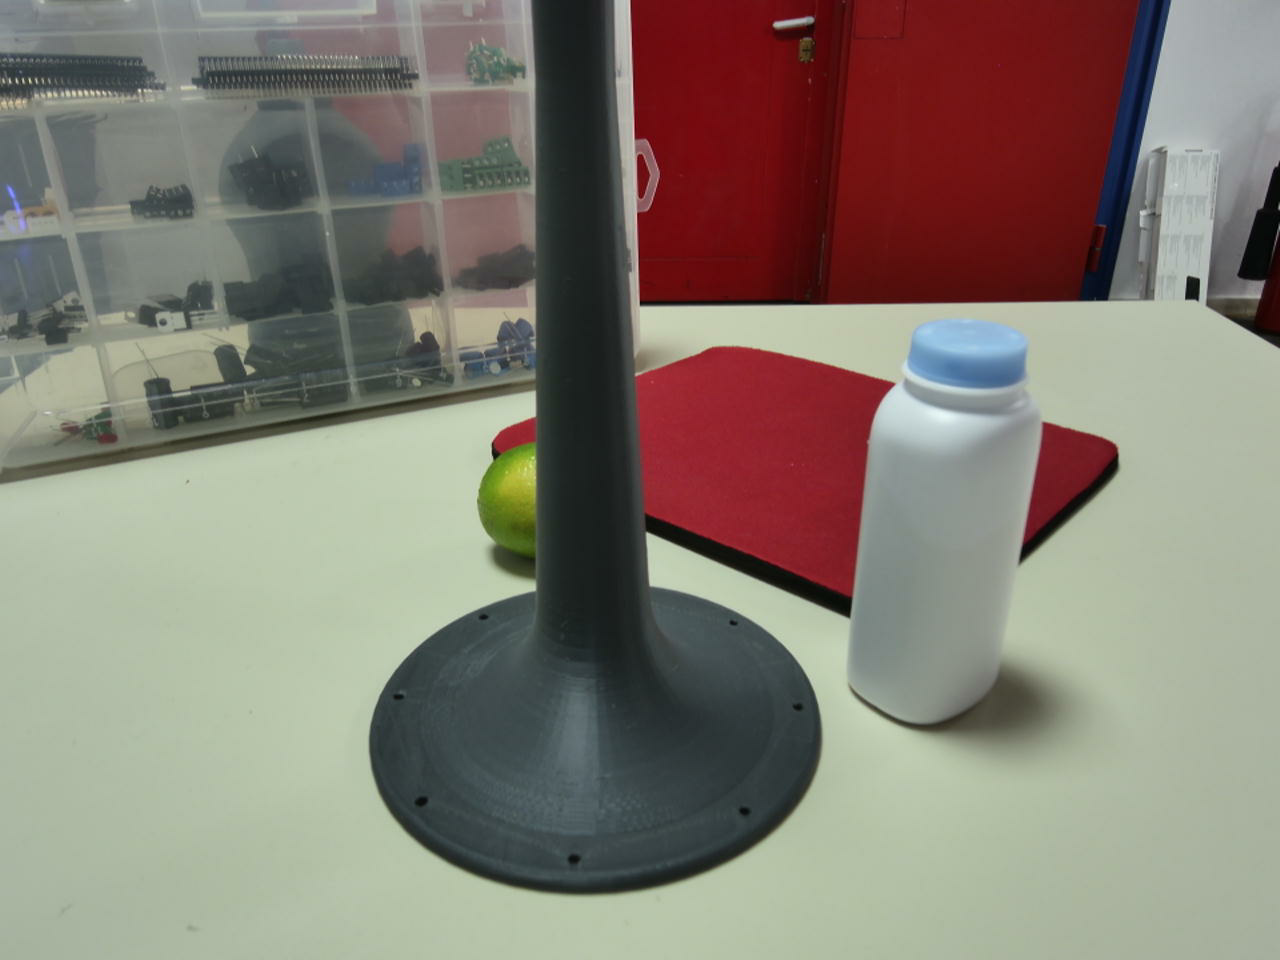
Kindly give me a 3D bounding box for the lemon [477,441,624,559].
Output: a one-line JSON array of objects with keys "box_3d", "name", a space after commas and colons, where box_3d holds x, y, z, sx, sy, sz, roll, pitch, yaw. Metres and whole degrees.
[{"box_3d": [-0.042, 0.008, 0.432, 0.054, 0.050, 0.055, -20, 31, -36], "name": "lemon"}]
